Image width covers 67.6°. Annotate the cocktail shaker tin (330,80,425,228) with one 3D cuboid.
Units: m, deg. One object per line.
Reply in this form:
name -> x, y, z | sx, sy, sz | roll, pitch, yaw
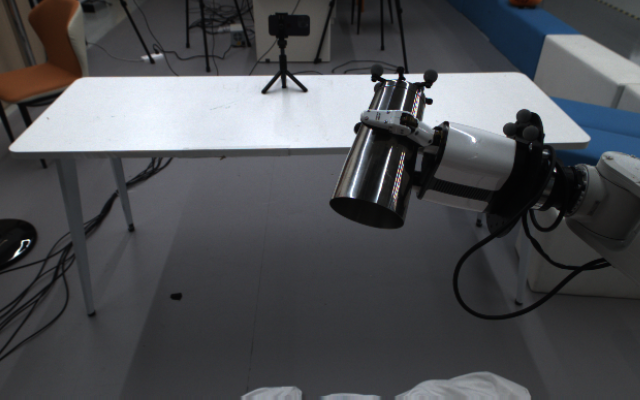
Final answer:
cocktail shaker tin -> 0.079, -0.061, 0.599 | 0.093, 0.093, 0.170 | 13, 70, 15
